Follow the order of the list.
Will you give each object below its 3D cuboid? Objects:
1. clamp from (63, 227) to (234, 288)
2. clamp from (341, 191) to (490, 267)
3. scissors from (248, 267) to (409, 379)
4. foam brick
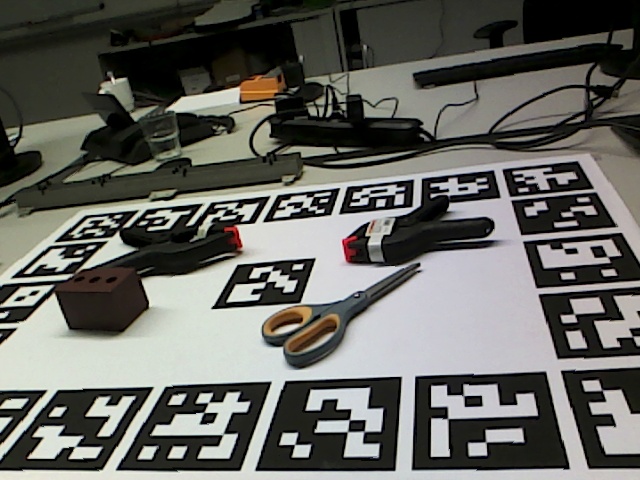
[{"bbox_3d":[-0.214,0.015,0.824,0.203,0.036,0.165,-6,24,9],"label":"clamp"},{"bbox_3d":[0.103,-0.006,0.743,0.165,0.036,0.122,-18,34,-12],"label":"clamp"},{"bbox_3d":[0.020,0.070,0.632,0.202,0.016,0.088,-28,38,-33],"label":"scissors"},{"bbox_3d":[-0.252,0.076,0.707,0.078,0.051,0.053,-6,28,22],"label":"foam brick"}]
